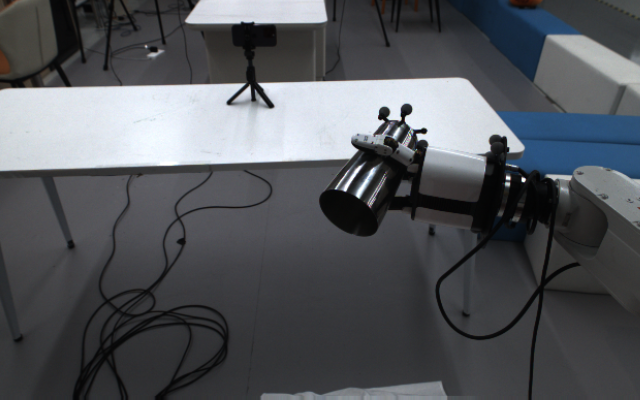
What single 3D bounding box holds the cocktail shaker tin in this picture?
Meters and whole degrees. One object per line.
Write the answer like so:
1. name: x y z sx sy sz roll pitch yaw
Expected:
1. cocktail shaker tin: 0.082 -0.045 0.704 0.093 0.093 0.170 19 55 22
